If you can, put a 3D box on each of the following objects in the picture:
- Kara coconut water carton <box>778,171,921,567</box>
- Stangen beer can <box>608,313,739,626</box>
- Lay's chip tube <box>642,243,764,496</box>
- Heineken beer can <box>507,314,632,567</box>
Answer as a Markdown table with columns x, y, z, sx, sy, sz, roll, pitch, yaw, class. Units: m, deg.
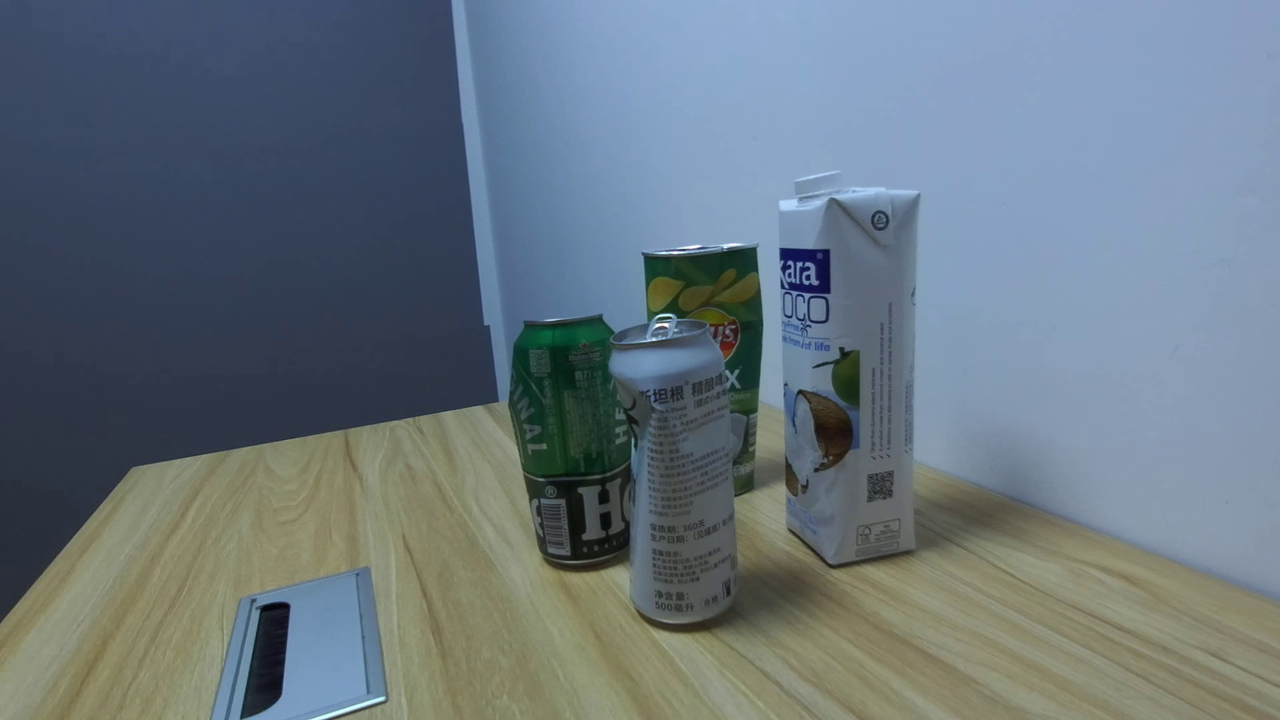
| x | y | z | sx | sy | sz | roll | pitch | yaw | class |
| --- | --- | --- | --- | --- | --- | --- | --- | --- | --- |
| 0.134 | 0.005 | 0.460 | 0.075 | 0.245 | 0.077 | -7 | 12 | -16 | Kara coconut water carton |
| 0.017 | 0.063 | 0.406 | 0.069 | 0.173 | 0.070 | 2 | 14 | 31 | Stangen beer can |
| 0.056 | 0.009 | 0.580 | 0.075 | 0.199 | 0.068 | -12 | 14 | -29 | Lay's chip tube |
| -0.044 | 0.055 | 0.488 | 0.068 | 0.168 | 0.069 | 0 | 8 | 42 | Heineken beer can |
